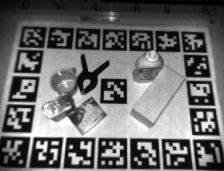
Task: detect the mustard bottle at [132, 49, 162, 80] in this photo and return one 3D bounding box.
[{"bbox_3d":[0.124,-0.075,0.763,0.096,0.192,0.058,-4,72,-1],"label":"mustard bottle"}]

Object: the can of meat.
[{"bbox_3d":[-0.187,0.075,0.753,0.102,0.084,0.057,-28,75,-10],"label":"can of meat"}]

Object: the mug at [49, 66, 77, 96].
[{"bbox_3d":[-0.173,-0.017,0.815,0.093,0.082,0.117,23,74,6],"label":"mug"}]

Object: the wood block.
[{"bbox_3d":[0.163,0.042,0.783,0.089,0.091,0.207,37,72,13],"label":"wood block"}]

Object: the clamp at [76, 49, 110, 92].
[{"bbox_3d":[-0.090,-0.052,0.834,0.121,0.036,0.165,20,74,3],"label":"clamp"}]

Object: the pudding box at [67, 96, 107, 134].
[{"bbox_3d":[-0.090,0.107,0.775,0.114,0.039,0.089,-37,77,-15],"label":"pudding box"}]
